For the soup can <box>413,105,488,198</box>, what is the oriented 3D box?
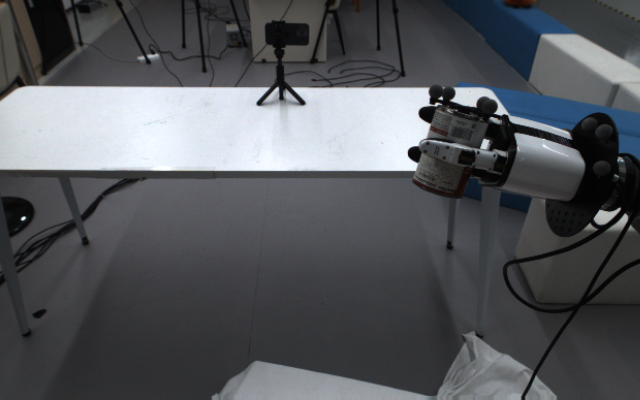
[{"bbox_3d":[0.165,-0.062,0.610,0.067,0.101,0.067,13,18,-4],"label":"soup can"}]
